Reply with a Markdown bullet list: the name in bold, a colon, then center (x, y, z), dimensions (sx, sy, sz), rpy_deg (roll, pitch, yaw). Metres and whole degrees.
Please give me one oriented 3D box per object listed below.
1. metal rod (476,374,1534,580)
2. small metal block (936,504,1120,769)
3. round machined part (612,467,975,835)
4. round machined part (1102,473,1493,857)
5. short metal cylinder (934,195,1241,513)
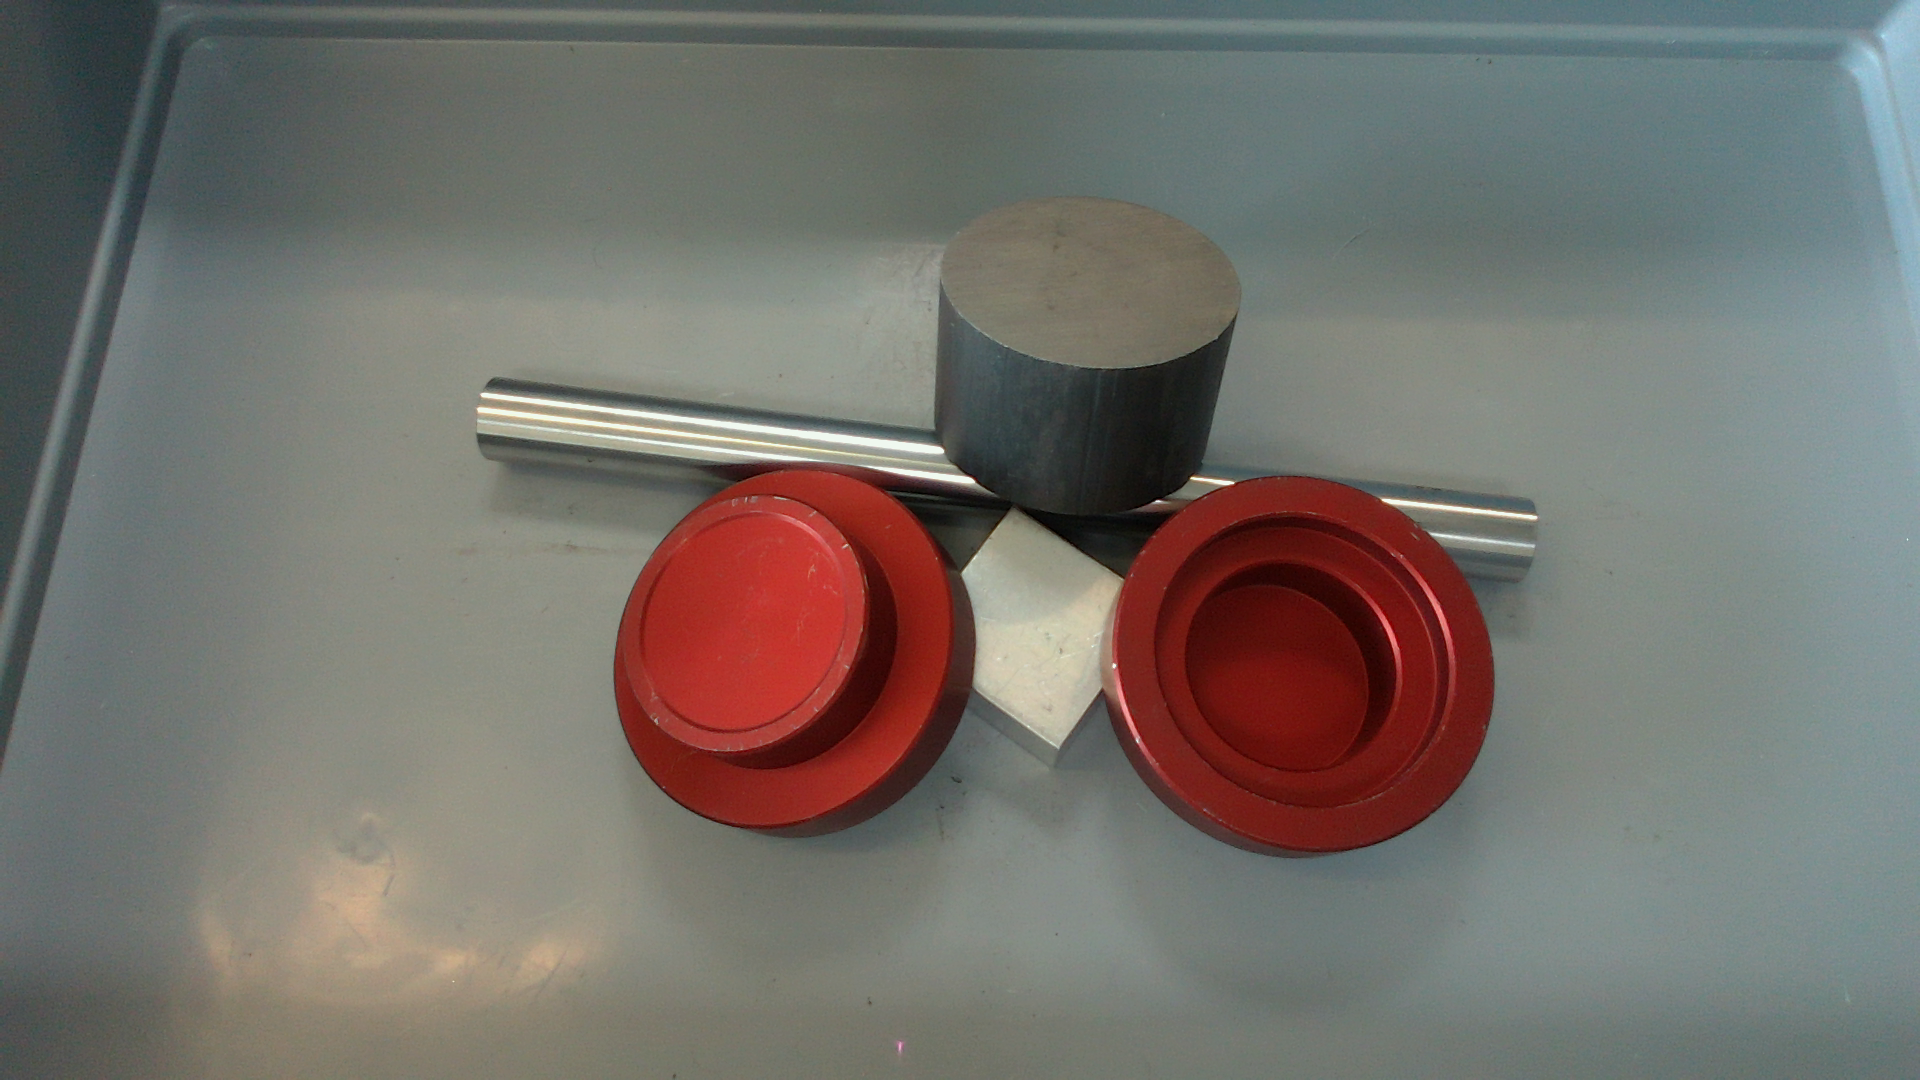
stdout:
- **metal rod**: center (0.011, -0.019, 0.400), dimensions (0.300, 0.025, 0.025), rpy_deg (7, 70, 2)
- **small metal block**: center (0.021, 0.027, 0.384), dimensions (0.050, 0.025, 0.050), rpy_deg (35, 74, 12)
- **round machined part**: center (-0.049, 0.026, 0.361), dimensions (0.098, 0.042, 0.098), rpy_deg (-6, 70, 17)
- **round machined part**: center (0.087, 0.035, 0.369), dimensions (0.098, 0.042, 0.098), rpy_deg (1, 72, -3)
- **short metal cylinder**: center (0.034, -0.053, 0.384), dimensions (0.080, 0.050, 0.080), rpy_deg (2, 44, -2)
